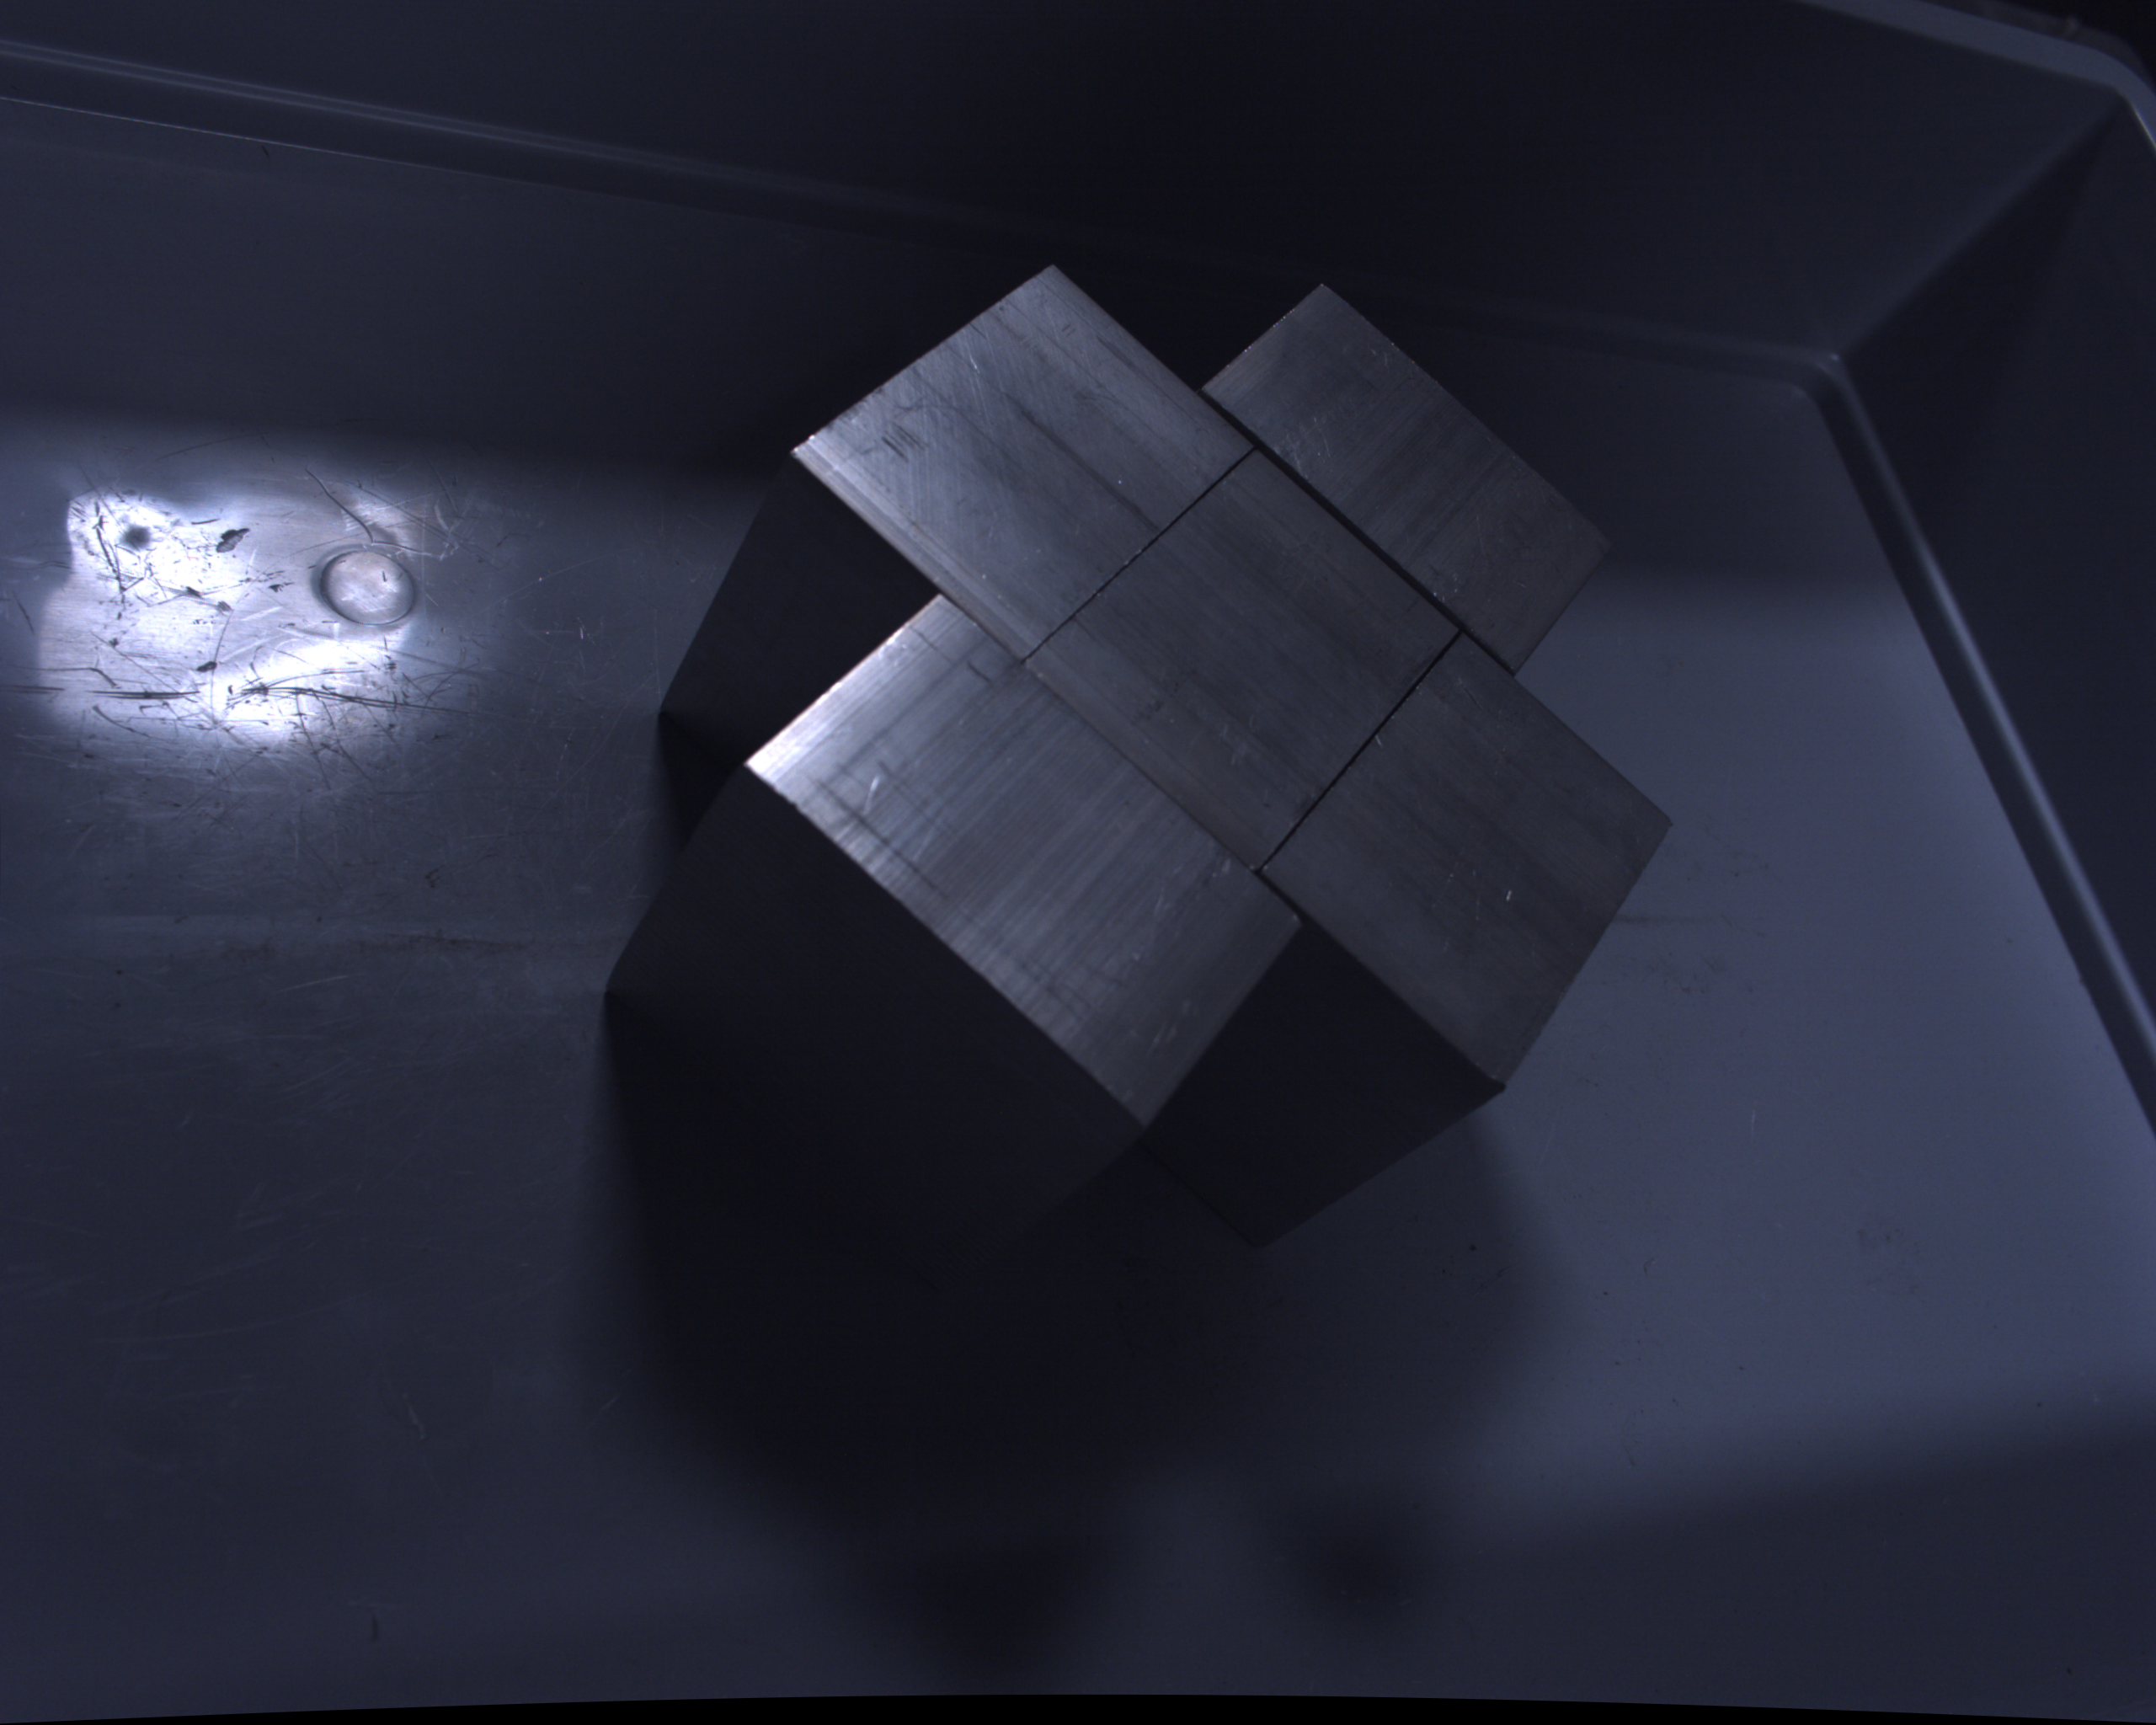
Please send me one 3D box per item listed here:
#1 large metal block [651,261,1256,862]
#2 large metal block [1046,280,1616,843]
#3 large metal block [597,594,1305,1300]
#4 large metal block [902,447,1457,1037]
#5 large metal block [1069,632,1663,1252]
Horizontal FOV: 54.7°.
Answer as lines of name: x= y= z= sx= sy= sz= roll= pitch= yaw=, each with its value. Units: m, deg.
large metal block: x=-0.024 y=-0.053 z=0.389 sx=0.050 sy=0.080 sz=0.080 roll=43 pitch=51 yaw=0
large metal block: x=0.048 y=-0.057 z=0.432 sx=0.080 sy=0.080 sz=0.050 roll=42 pitch=51 yaw=0
large metal block: x=-0.024 y=0.017 z=0.348 sx=0.080 sy=0.080 sz=0.050 roll=42 pitch=51 yaw=0
large metal block: x=0.013 y=-0.019 z=0.389 sx=0.050 sy=0.080 sz=0.080 roll=43 pitch=51 yaw=0
large metal block: x=0.051 y=0.016 z=0.389 sx=0.050 sy=0.080 sz=0.080 roll=43 pitch=51 yaw=0
